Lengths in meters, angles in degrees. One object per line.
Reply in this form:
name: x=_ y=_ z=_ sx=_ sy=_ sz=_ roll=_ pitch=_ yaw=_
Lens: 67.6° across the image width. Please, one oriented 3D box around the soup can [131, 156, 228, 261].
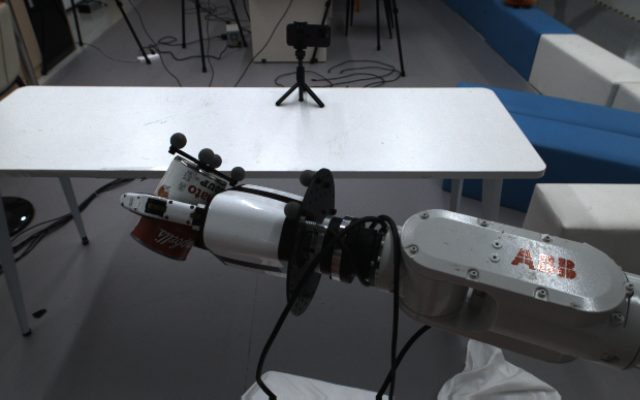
soup can: x=-0.158 y=0.011 z=0.549 sx=0.067 sy=0.101 sz=0.067 roll=29 pitch=-2 yaw=1
